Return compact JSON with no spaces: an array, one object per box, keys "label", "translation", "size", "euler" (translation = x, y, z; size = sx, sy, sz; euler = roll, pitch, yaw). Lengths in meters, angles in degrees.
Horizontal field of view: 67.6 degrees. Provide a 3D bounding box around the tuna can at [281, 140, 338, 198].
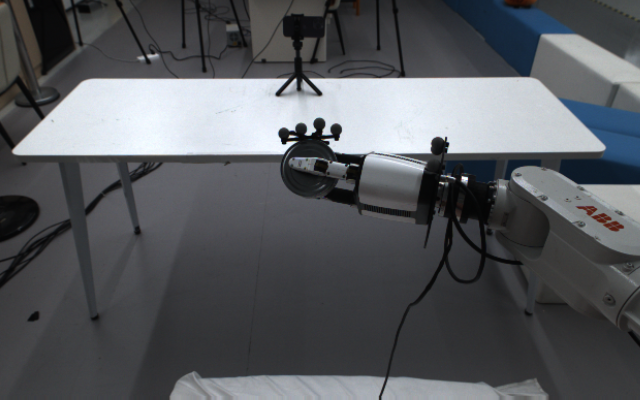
[{"label":"tuna can","translation":[-0.012,-0.041,0.715],"size":[0.085,0.085,0.034],"euler":[10,-6,11]}]
